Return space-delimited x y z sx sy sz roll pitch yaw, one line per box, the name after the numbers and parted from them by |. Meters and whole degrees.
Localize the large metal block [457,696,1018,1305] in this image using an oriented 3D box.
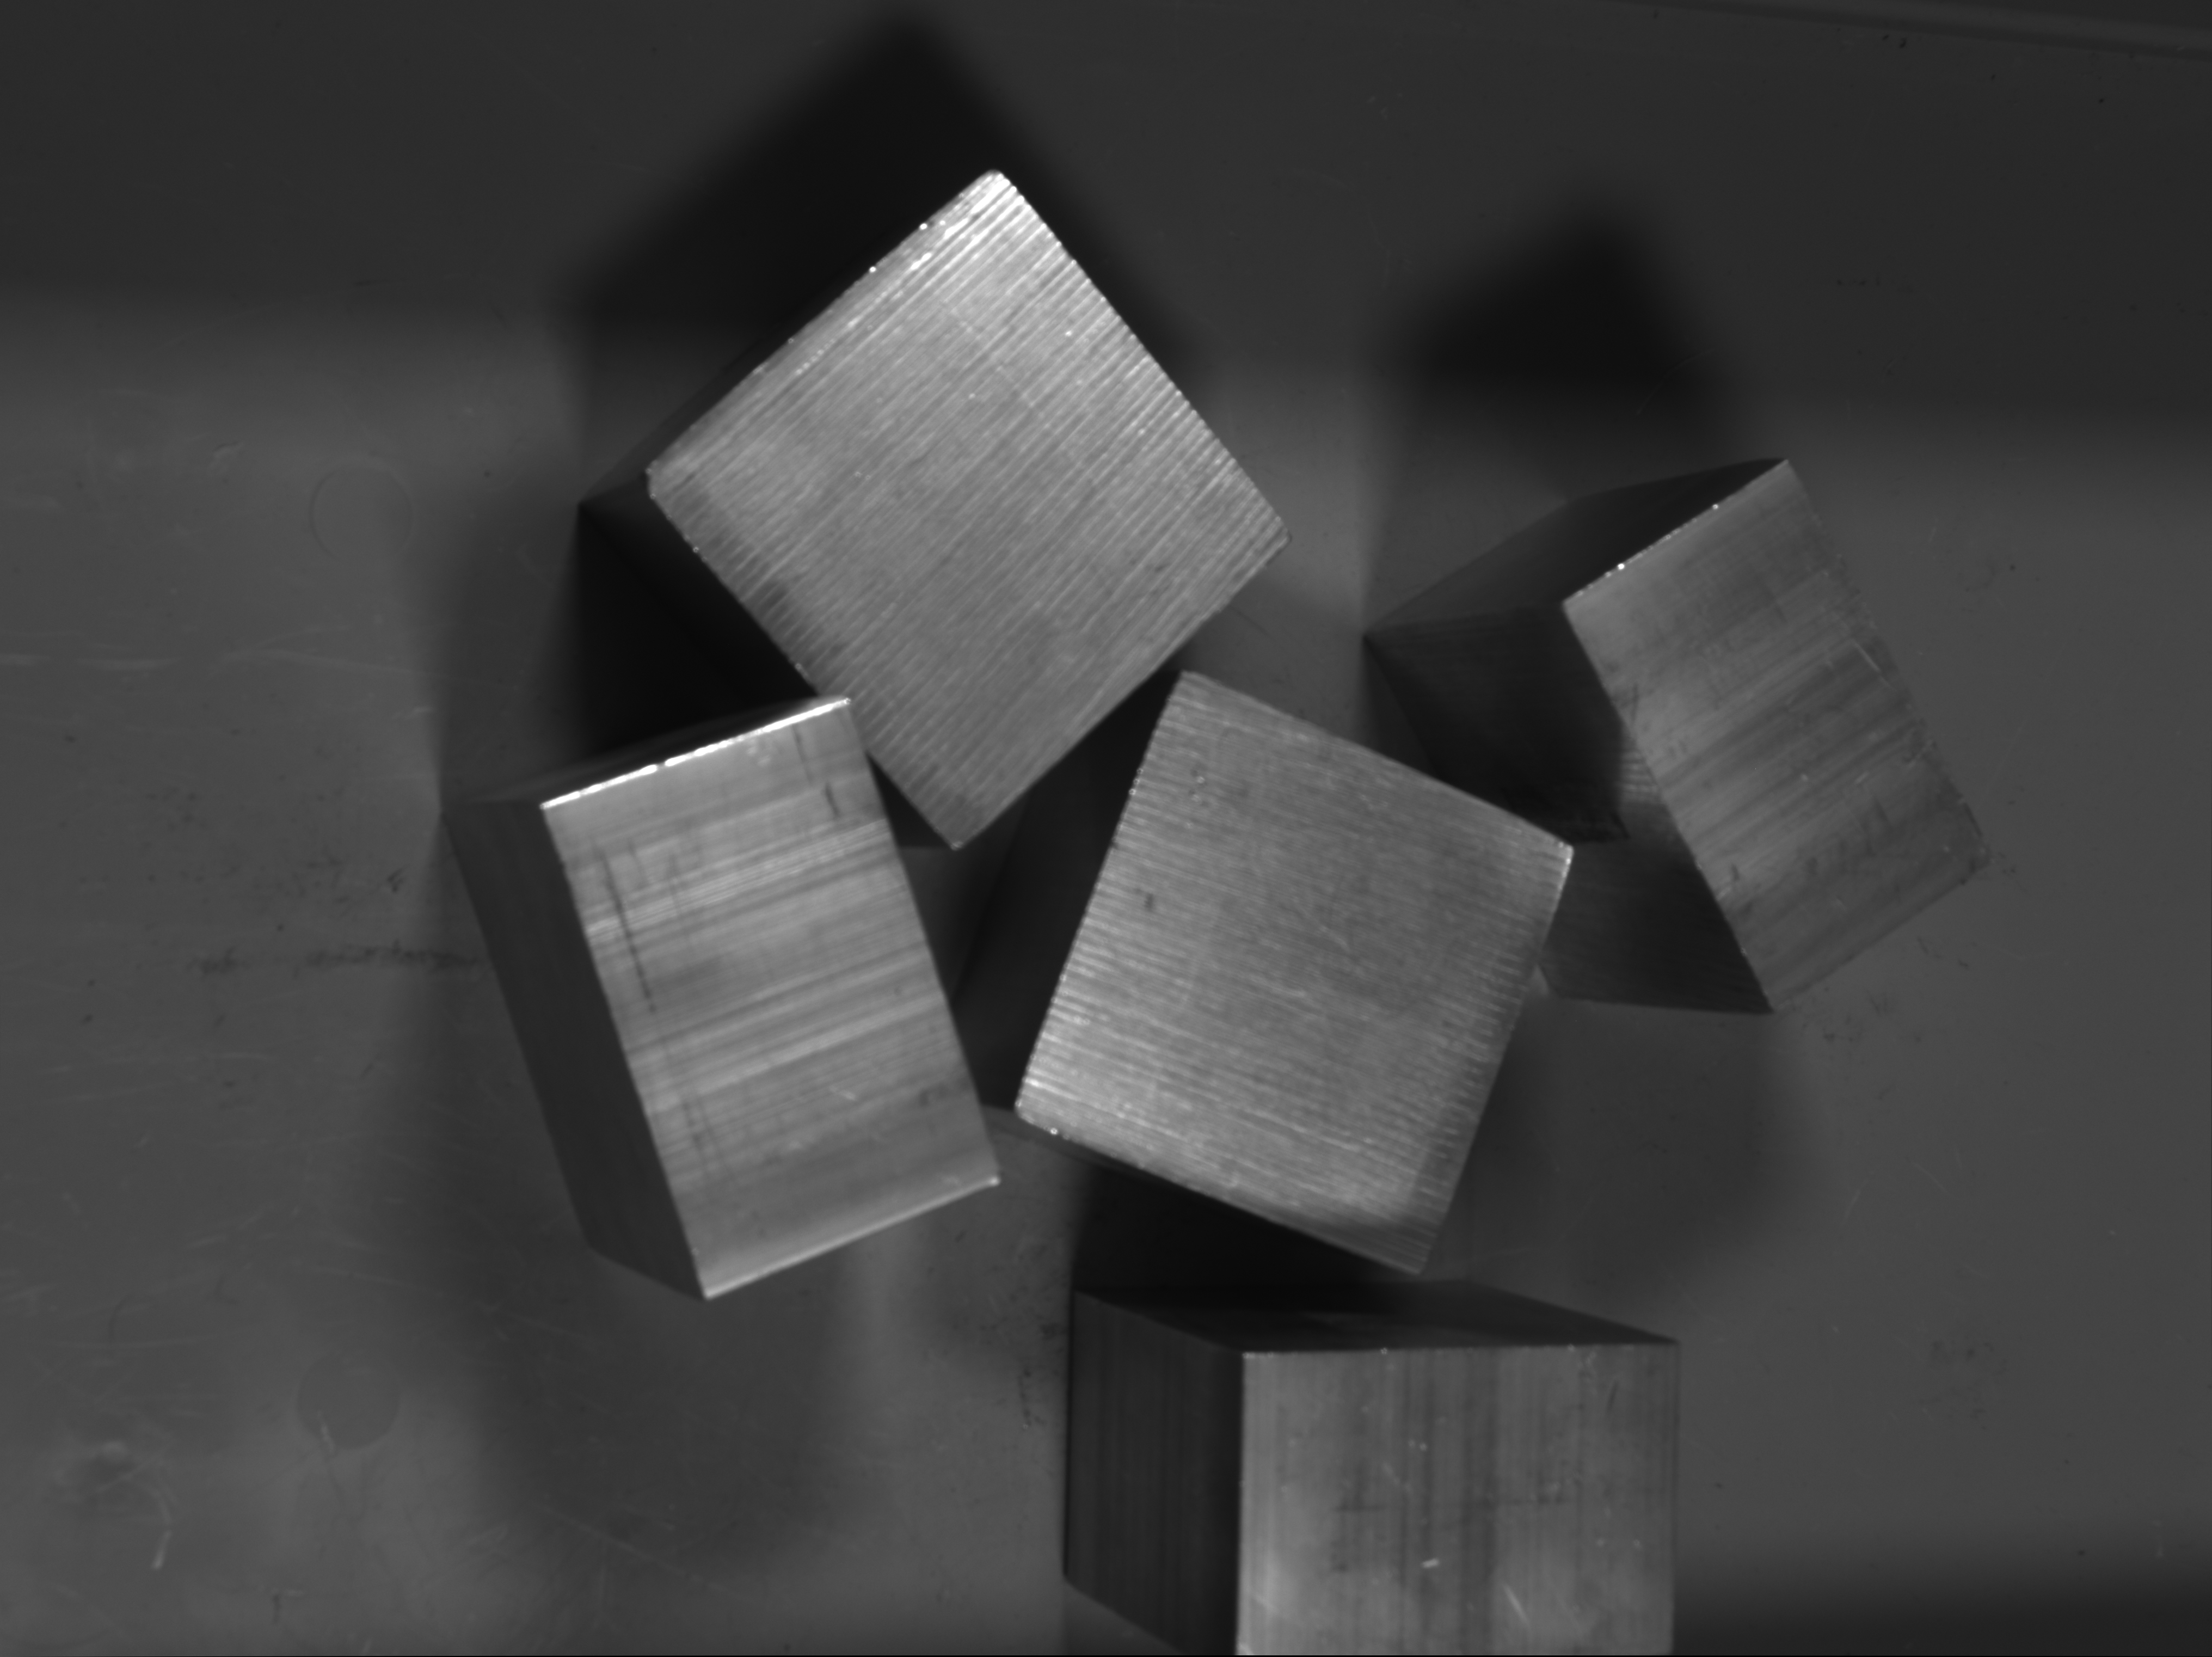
-0.061 0.026 0.591 0.050 0.080 0.080 -20 96 -19 | large metal block

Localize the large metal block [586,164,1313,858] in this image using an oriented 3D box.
-0.027 -0.052 0.619 0.080 0.050 0.080 -44 104 -15 | large metal block

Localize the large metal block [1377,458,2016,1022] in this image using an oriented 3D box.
0.103 -0.015 0.650 0.050 0.080 0.080 -32 100 -17 | large metal block

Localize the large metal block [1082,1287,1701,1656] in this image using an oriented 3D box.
0.047 0.109 0.631 0.080 0.080 0.050 1 90 -20 | large metal block

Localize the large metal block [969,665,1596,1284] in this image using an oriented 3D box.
0.027 0.025 0.639 0.080 0.050 0.080 24 82 -18 | large metal block
